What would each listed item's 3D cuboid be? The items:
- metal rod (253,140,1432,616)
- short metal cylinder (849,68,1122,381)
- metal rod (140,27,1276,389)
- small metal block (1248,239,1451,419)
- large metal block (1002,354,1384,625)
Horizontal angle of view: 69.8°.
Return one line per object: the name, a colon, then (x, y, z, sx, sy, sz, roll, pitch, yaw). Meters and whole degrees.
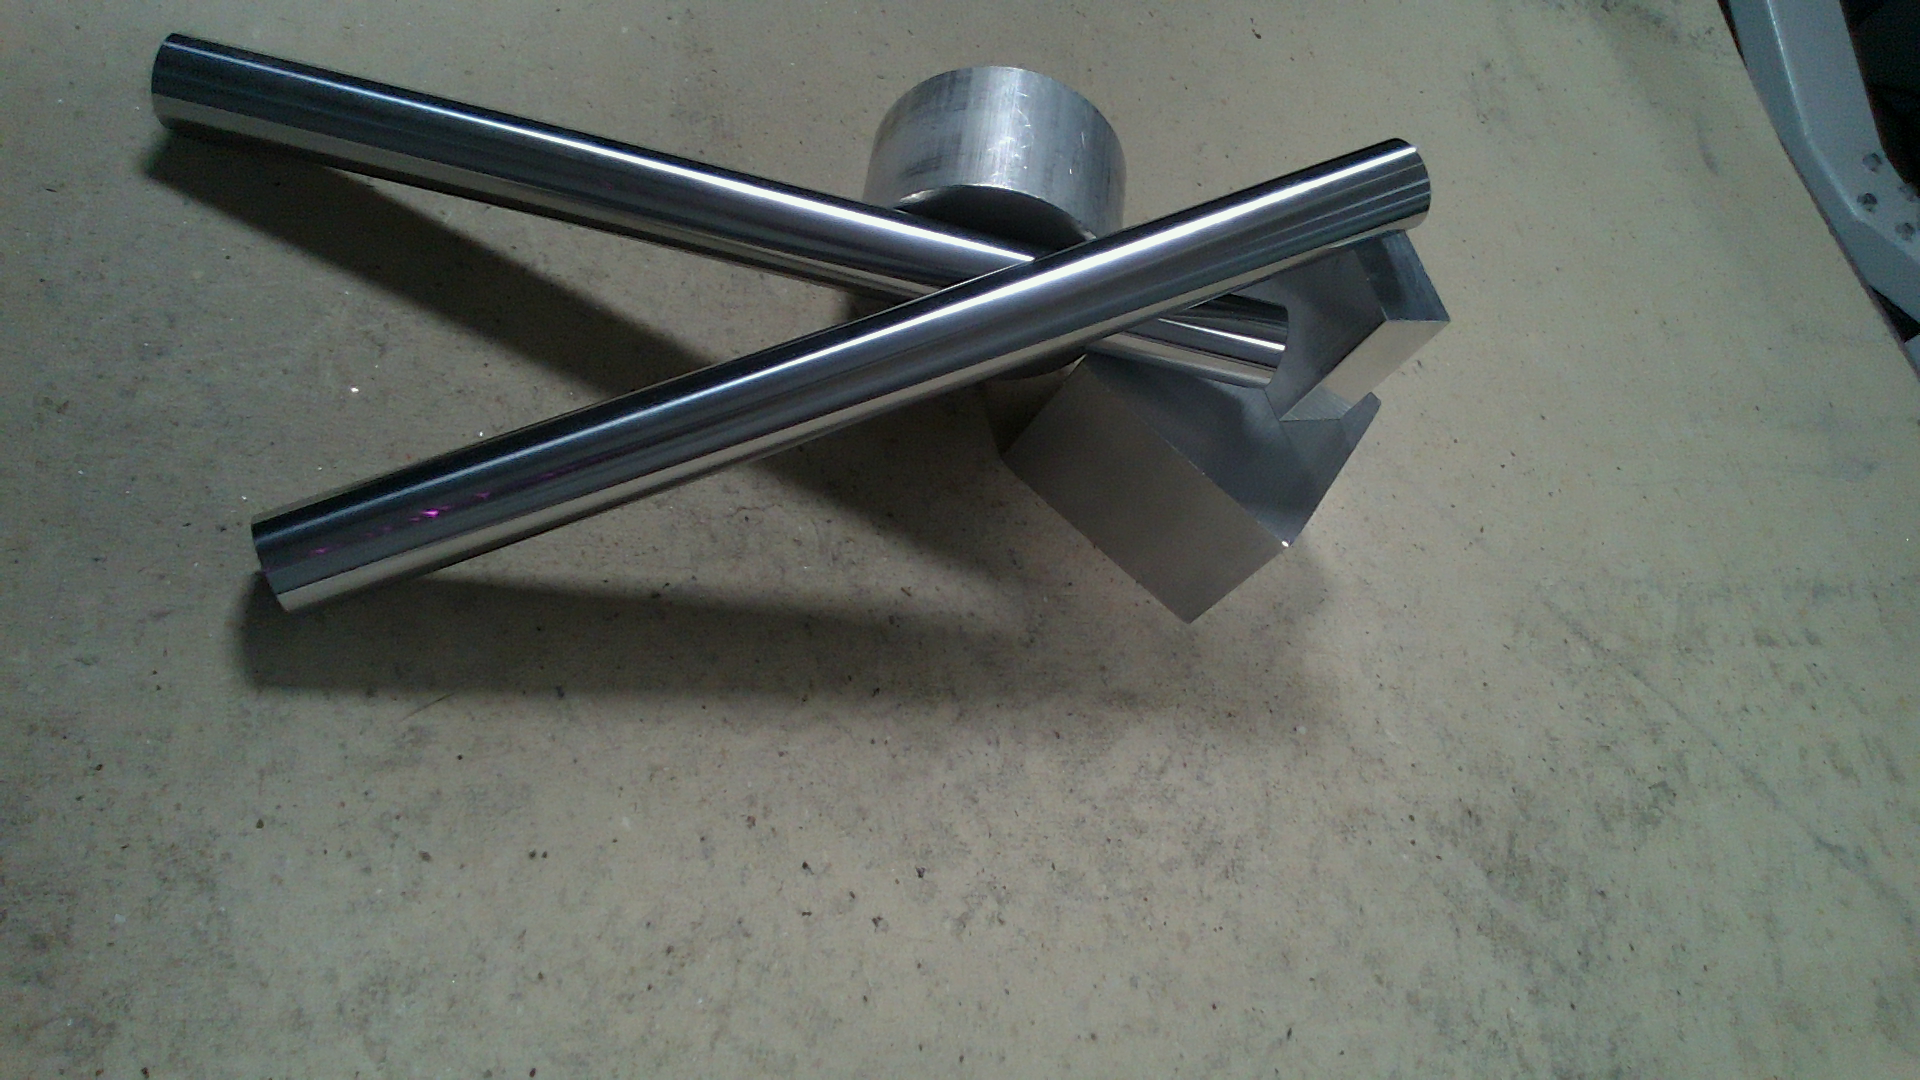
metal rod: (-0.015, -0.046, 0.342, 0.301, 0.025, 0.025, -21, 71, -14)
short metal cylinder: (0.008, -0.094, 0.418, 0.080, 0.080, 0.050, 19, 54, -17)
metal rod: (-0.060, -0.087, 0.374, 0.300, 0.025, 0.025, 13, 56, -8)
small metal block: (0.109, -0.071, 0.408, 0.025, 0.050, 0.050, -5, 64, -29)
large metal block: (0.074, -0.035, 0.433, 0.080, 0.050, 0.080, 41, 52, 1)
